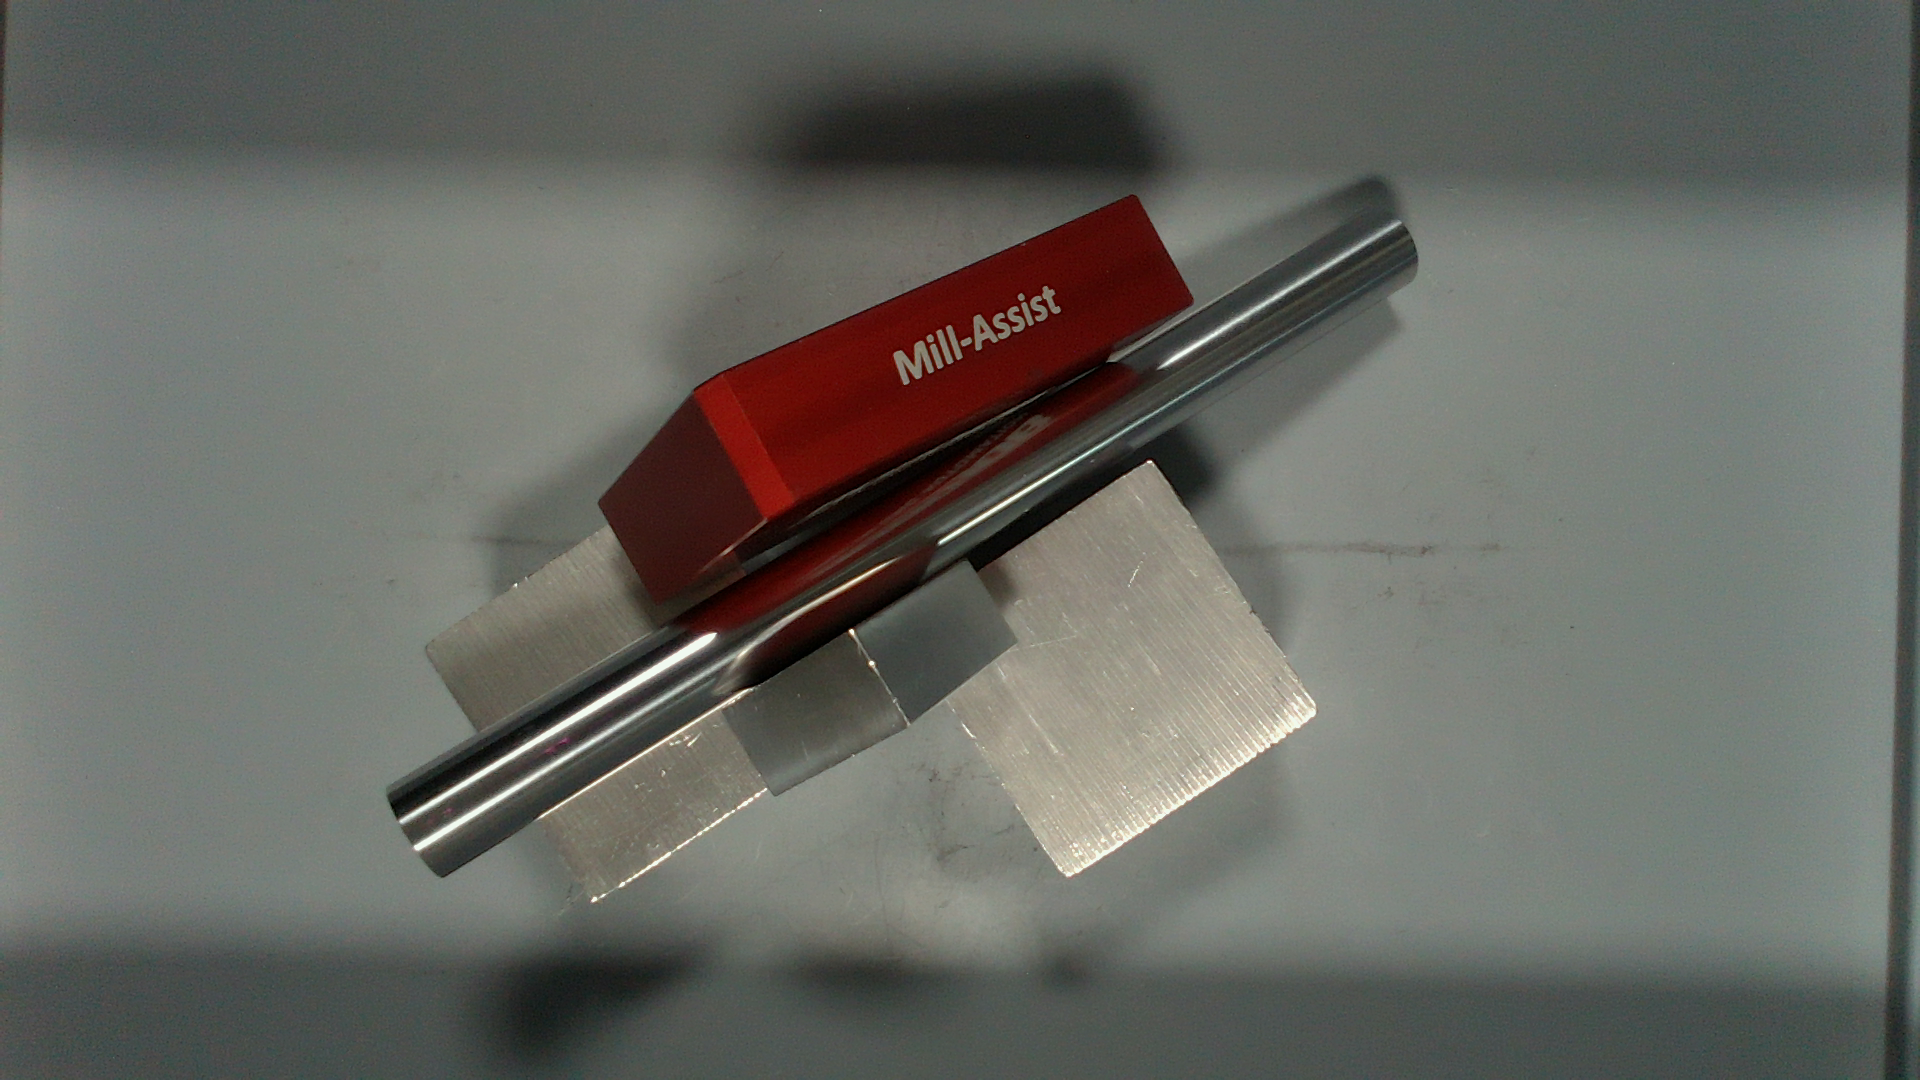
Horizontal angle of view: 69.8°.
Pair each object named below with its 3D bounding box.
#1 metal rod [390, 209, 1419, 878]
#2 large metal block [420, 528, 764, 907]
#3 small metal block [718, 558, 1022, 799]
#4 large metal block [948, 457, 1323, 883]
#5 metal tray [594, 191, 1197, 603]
[{"bbox_3d":[-0.001,-0.008,0.357,0.301,0.025,0.025,-31,90,-15],"label":"metal rod"},{"bbox_3d":[-0.084,0.039,0.380,0.080,0.050,0.080,-34,90,0],"label":"large metal block"},{"bbox_3d":[-0.021,0.033,0.333,0.050,0.050,0.025,-31,90,37],"label":"small metal block"},{"bbox_3d":[0.039,0.034,0.382,0.080,0.050,0.080,-34,90,0],"label":"large metal block"},{"bbox_3d":[-0.015,-0.035,0.335,0.130,0.090,0.030,-30,91,-32],"label":"metal tray"}]
